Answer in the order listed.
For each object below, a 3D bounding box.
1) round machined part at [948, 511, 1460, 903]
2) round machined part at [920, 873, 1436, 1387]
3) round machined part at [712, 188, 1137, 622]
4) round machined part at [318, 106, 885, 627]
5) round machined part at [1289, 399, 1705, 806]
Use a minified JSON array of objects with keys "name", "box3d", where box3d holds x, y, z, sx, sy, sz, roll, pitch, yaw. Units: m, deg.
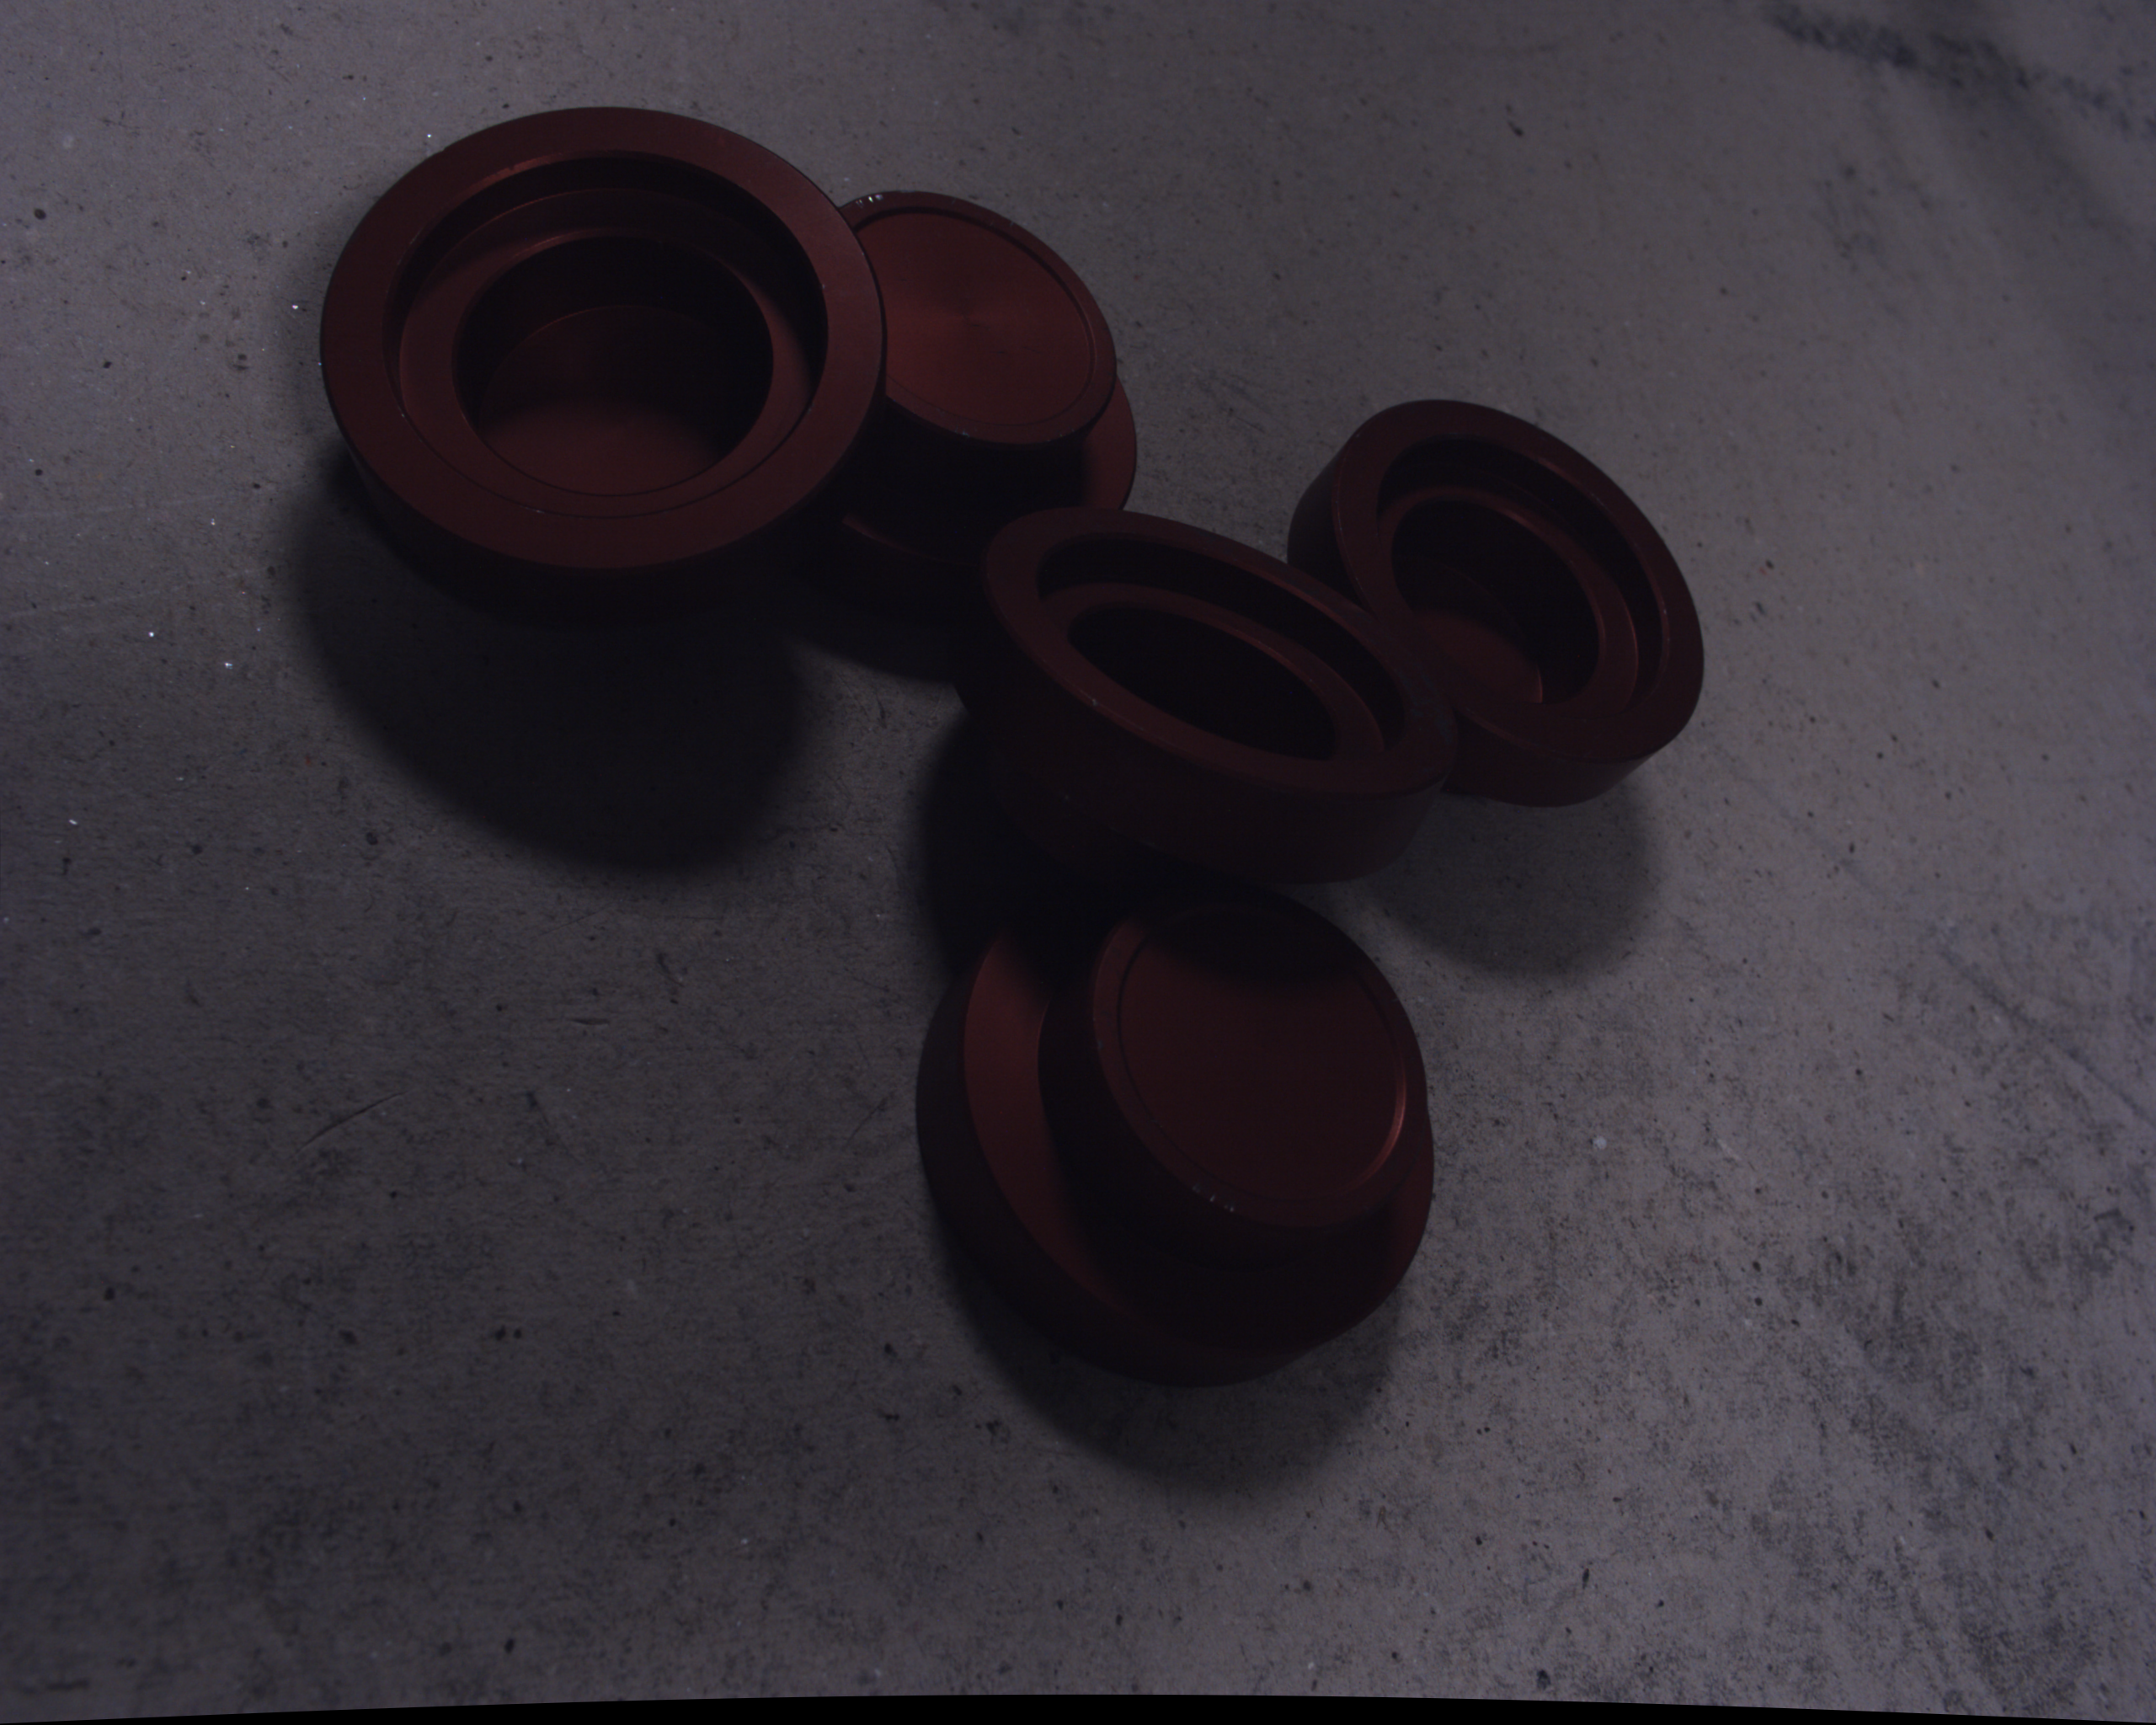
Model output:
[{"name":"round machined part","box3d":[0.021,-0.026,0.409,0.099,0.042,0.098,16,33,-11]},{"name":"round machined part","box3d":[0.024,0.042,0.382,0.099,0.042,0.098,14,56,-21]},{"name":"round machined part","box3d":[-0.031,-0.102,0.441,0.099,0.042,0.098,14,56,-21]},{"name":"round machined part","box3d":[-0.086,-0.088,0.389,0.099,0.042,0.098,2,70,-6]},{"name":"round machined part","box3d":[0.091,-0.055,0.479,0.099,0.042,0.098,14,56,-21]}]
